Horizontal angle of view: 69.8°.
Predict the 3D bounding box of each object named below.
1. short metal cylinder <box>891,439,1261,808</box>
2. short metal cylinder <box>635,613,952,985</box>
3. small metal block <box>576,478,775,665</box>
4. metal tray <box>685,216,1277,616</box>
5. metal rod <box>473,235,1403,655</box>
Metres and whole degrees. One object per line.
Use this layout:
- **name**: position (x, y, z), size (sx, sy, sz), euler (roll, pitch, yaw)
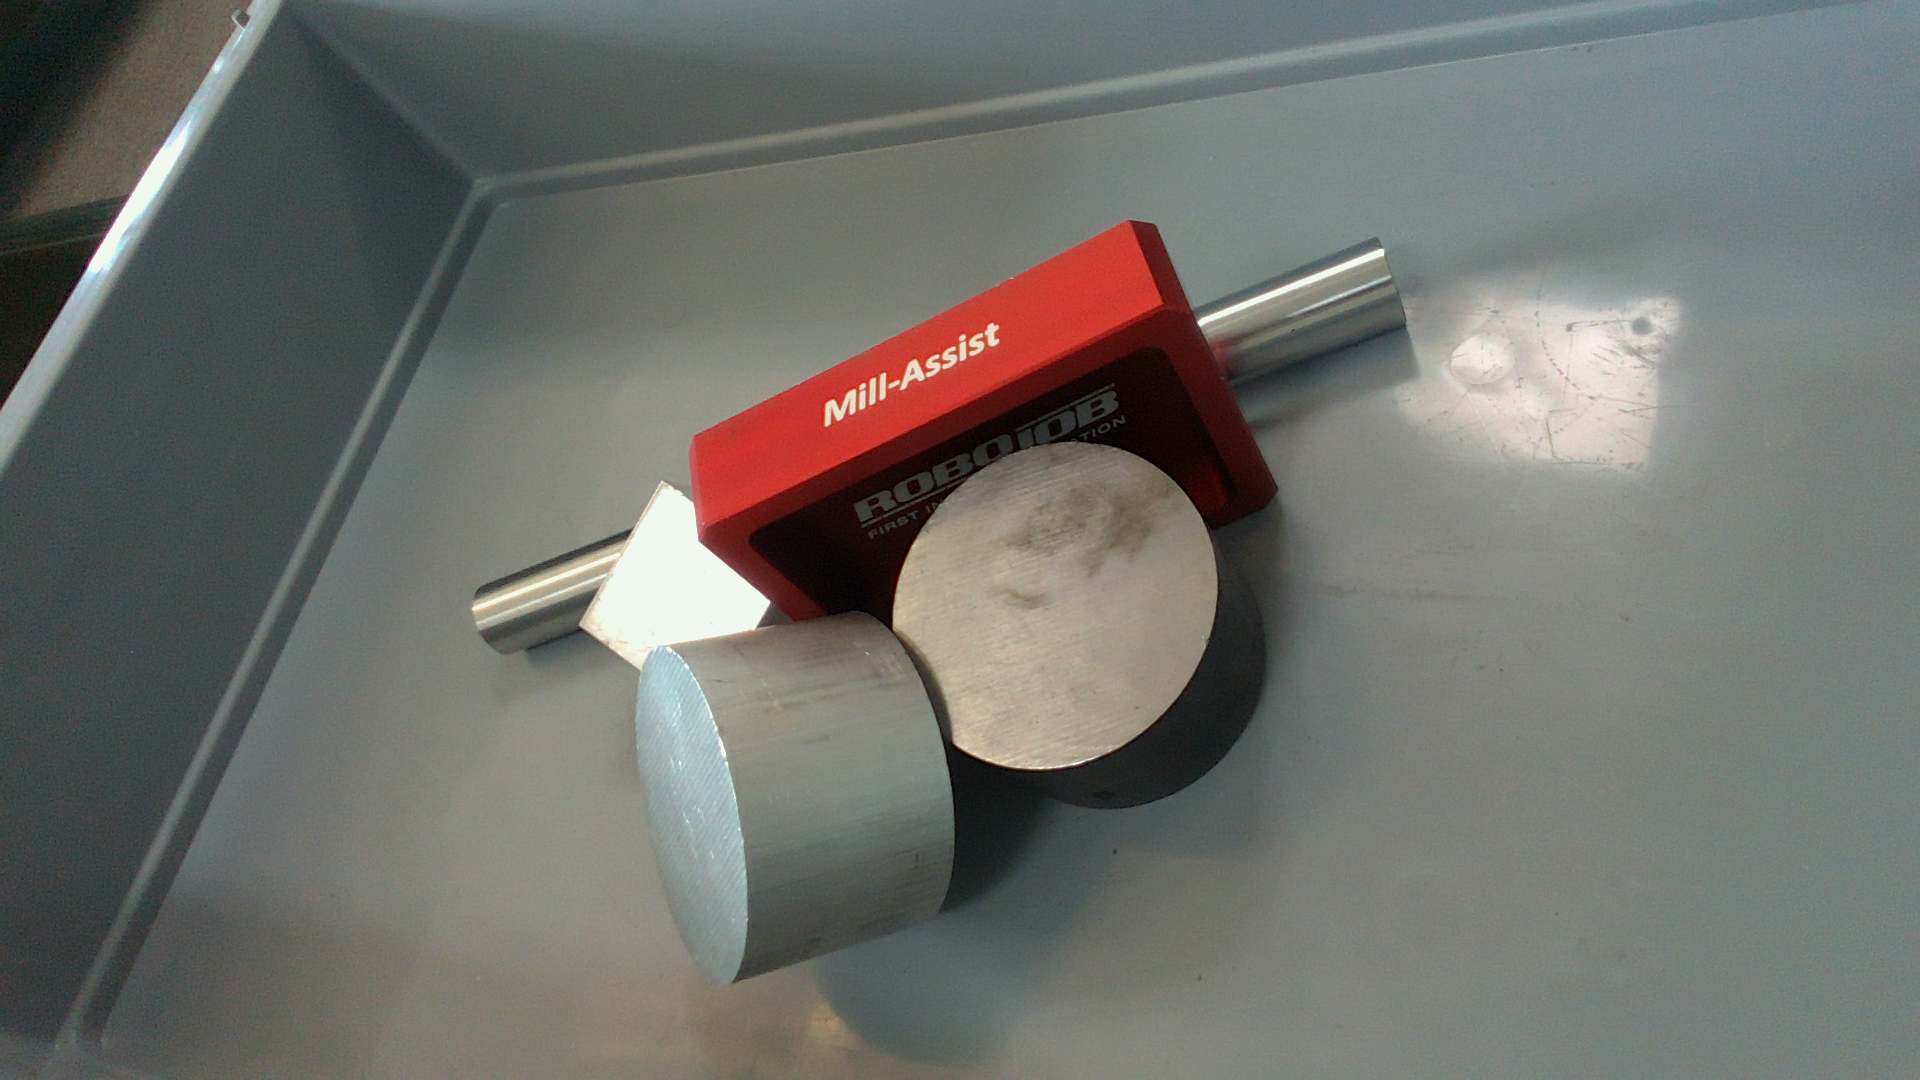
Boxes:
- **short metal cylinder**: position (0.030, 0.022, 0.340), size (0.080, 0.050, 0.080), euler (-9, 67, 21)
- **short metal cylinder**: position (-0.043, 0.060, 0.334), size (0.050, 0.080, 0.080), euler (-9, 45, -27)
- **small metal block**: position (-0.076, 0.017, 0.406), size (0.050, 0.025, 0.050), euler (33, 96, 19)
- **metal tray**: position (0.007, -0.018, 0.358), size (0.130, 0.090, 0.030), euler (-24, 53, 14)
- **metal rod**: position (-0.019, -0.022, 0.416), size (0.299, 0.025, 0.025), euler (-20, 54, 17)
